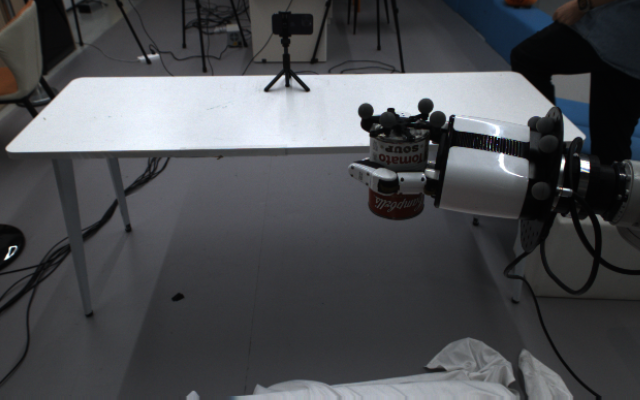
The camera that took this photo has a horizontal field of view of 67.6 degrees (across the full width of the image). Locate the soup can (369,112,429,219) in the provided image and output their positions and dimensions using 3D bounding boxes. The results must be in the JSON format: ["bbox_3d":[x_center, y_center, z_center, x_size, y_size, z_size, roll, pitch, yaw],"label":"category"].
[{"bbox_3d":[0.092,-0.037,0.563,0.067,0.101,0.067,-2,33,1],"label":"soup can"}]
